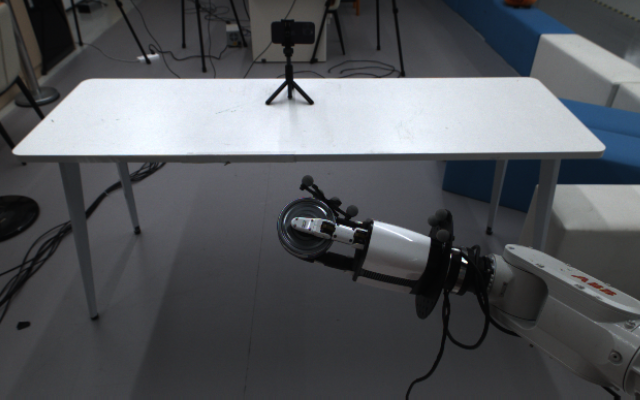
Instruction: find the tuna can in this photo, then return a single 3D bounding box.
[{"bbox_3d":[-0.017,0.039,0.695,0.085,0.034,0.085,0,74,0],"label":"tuna can"}]
